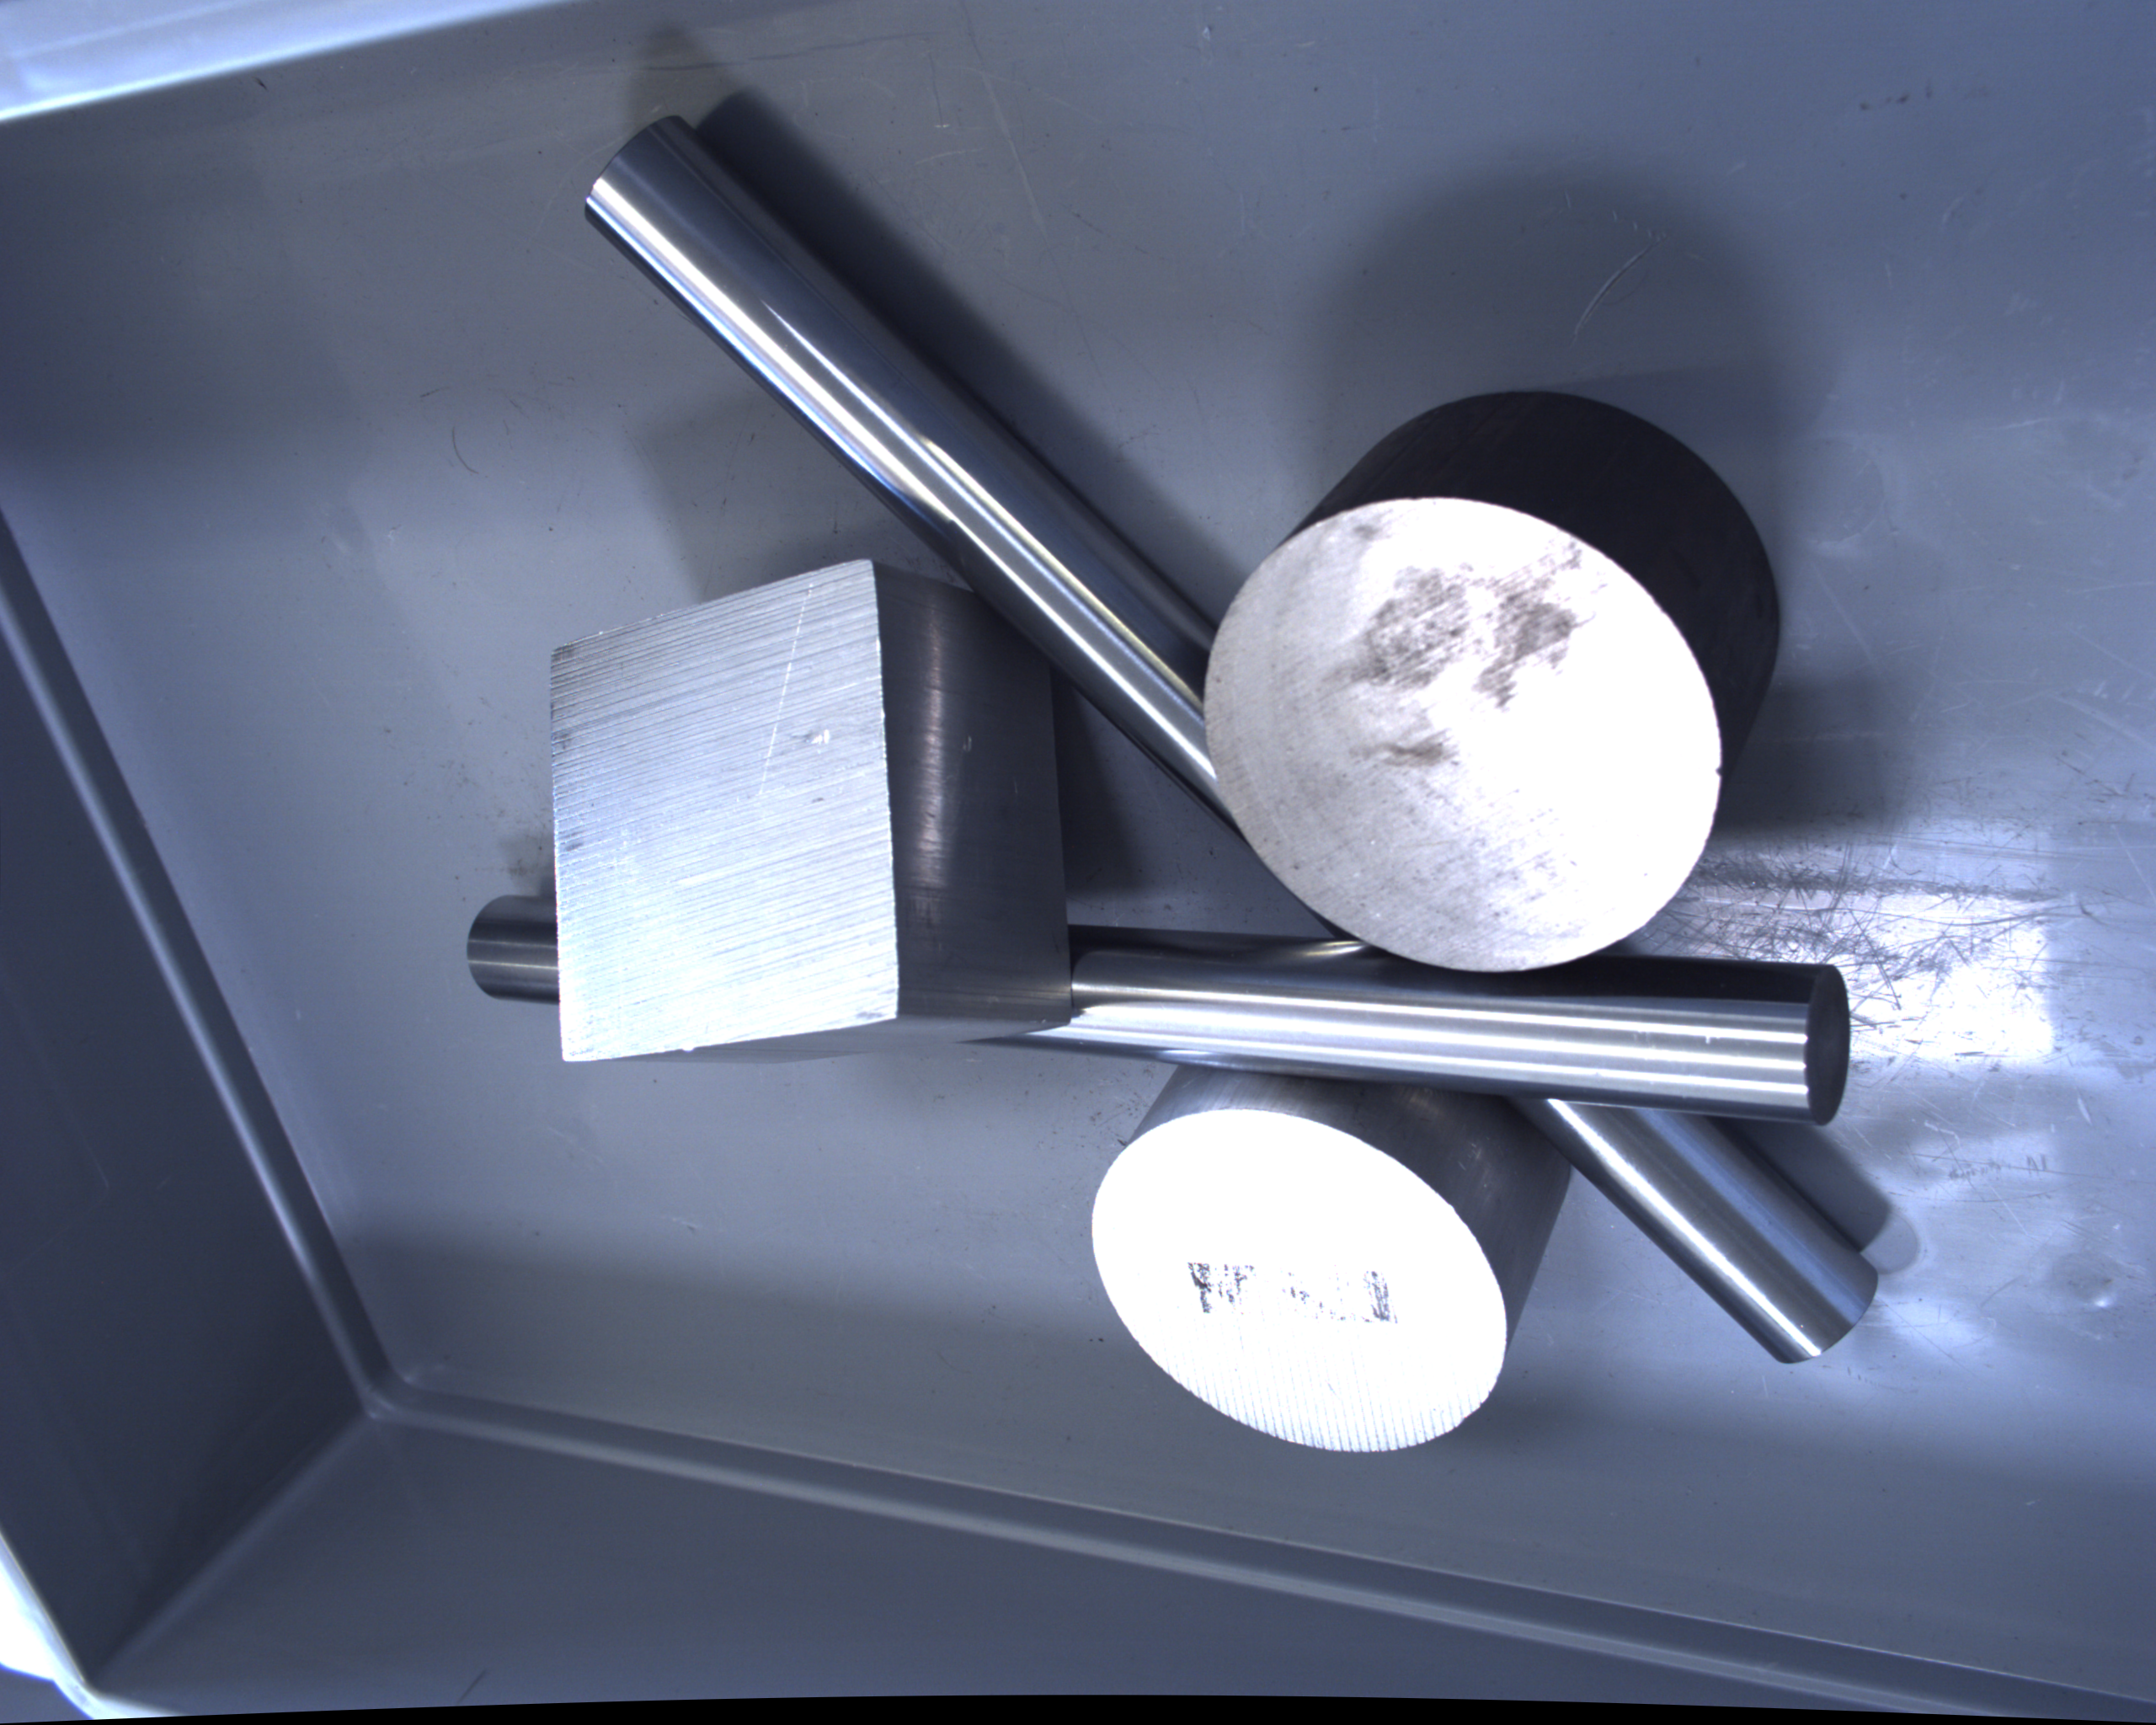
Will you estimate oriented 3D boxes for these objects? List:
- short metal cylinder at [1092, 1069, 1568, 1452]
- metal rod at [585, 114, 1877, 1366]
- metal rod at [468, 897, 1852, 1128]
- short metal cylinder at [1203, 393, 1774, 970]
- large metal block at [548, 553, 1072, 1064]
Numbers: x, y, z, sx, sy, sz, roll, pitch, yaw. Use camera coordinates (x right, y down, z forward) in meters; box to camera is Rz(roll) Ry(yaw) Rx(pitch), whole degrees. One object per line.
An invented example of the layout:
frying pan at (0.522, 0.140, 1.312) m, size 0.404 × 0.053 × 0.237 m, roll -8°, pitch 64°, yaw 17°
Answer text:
short metal cylinder at (0.050, 0.067, 0.405) m, size 0.080 × 0.050 × 0.079 m, roll 13°, pitch 124°, yaw 21°
metal rod at (0.030, -0.020, 0.379) m, size 0.300 × 0.025 × 0.025 m, roll 44°, pitch 129°, yaw -3°
metal rod at (-0.009, 0.024, 0.404) m, size 0.300 × 0.025 × 0.025 m, roll 2°, pitch 120°, yaw 34°
short metal cylinder at (0.067, -0.030, 0.337) m, size 0.080 × 0.050 × 0.079 m, roll 13°, pitch 124°, yaw 21°
large metal block at (-0.051, -0.005, 0.391) m, size 0.080 × 0.050 × 0.080 m, roll -10°, pitch 79°, yaw 33°
